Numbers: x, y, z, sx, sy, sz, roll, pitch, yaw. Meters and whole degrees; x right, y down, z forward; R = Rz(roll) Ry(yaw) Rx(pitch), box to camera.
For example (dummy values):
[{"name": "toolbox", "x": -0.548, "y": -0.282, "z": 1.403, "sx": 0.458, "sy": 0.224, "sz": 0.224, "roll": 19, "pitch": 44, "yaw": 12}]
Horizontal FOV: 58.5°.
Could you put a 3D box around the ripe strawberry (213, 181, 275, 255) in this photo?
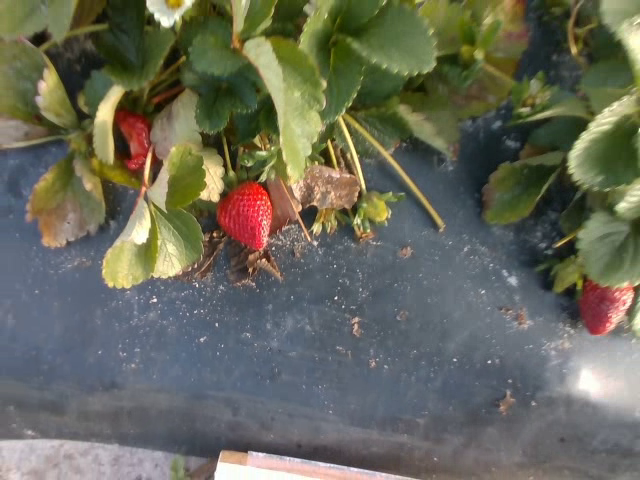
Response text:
[{"name": "ripe strawberry", "x": -0.033, "y": -0.008, "z": 0.251, "sx": 0.032, "sy": 0.030, "sz": 0.025, "roll": -26, "pitch": -11, "yaw": 1}]
